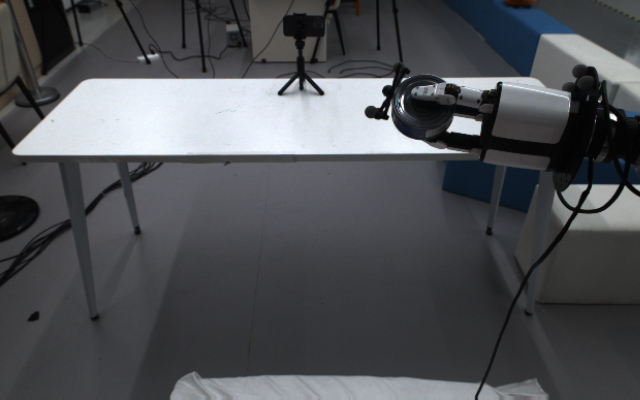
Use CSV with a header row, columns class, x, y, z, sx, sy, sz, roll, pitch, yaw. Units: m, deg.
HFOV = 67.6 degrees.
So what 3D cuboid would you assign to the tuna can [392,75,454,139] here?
class,x,y,z,sx,sy,sz,roll,pitch,yaw
tuna can,0.142,-0.130,0.663,0.085,0.034,0.085,-2,71,5
